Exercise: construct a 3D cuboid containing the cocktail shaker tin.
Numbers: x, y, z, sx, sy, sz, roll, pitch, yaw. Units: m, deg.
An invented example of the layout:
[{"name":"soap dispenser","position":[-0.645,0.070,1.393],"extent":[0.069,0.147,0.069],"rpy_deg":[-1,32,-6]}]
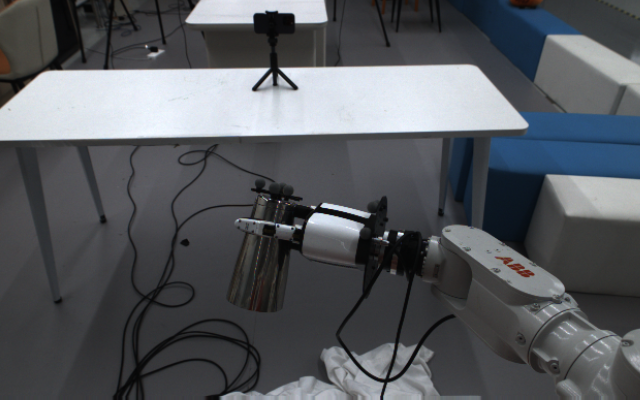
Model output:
[{"name":"cocktail shaker tin","position":[-0.087,0.079,0.775],"extent":[0.093,0.170,0.093],"rpy_deg":[13,3,-1]}]
